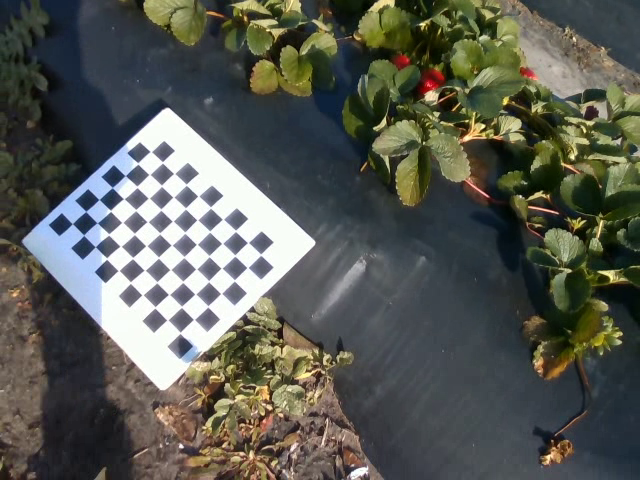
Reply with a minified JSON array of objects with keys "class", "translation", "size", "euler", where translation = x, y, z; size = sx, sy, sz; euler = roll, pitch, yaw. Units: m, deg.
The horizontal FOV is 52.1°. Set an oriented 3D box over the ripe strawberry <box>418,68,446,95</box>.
[{"class":"ripe strawberry","translation":[0.157,-0.247,0.943],"size":[0.052,0.046,0.058],"euler":[5,26,13]}]
